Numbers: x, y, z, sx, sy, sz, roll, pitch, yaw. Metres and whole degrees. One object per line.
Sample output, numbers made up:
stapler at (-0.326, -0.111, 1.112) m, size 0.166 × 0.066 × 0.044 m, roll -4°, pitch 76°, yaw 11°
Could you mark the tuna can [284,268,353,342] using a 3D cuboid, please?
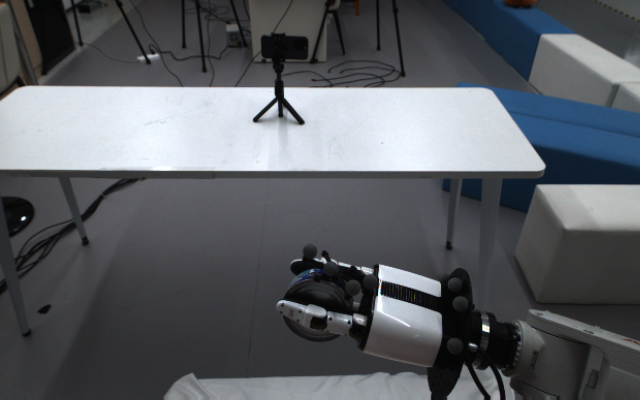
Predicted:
tuna can at (0.002, 0.127, 0.592) m, size 0.085 × 0.085 × 0.034 m, roll 7°, pitch 17°, yaw 7°
